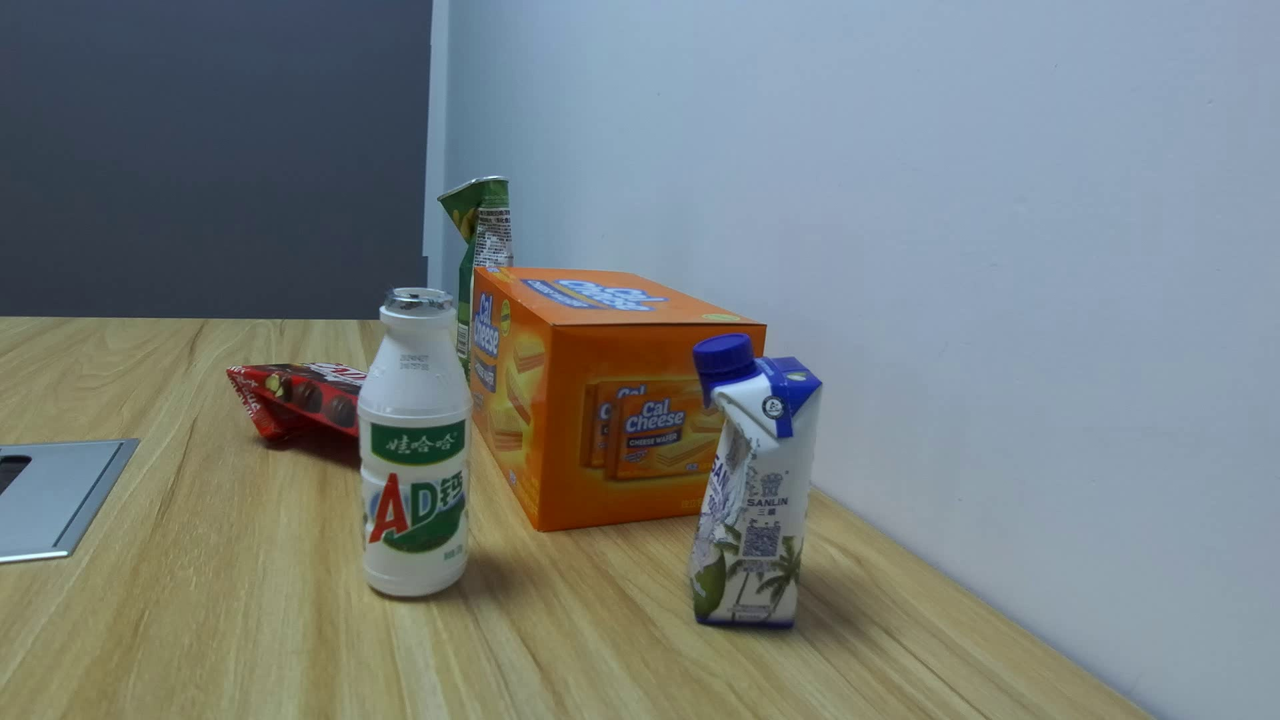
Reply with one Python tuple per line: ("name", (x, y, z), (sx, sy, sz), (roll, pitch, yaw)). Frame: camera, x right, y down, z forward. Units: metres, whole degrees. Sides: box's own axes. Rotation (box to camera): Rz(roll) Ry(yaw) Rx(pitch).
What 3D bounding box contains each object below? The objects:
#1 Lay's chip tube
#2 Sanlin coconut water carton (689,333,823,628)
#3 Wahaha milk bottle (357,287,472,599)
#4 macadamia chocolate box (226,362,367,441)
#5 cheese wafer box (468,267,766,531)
("Lay's chip tube", (-0.147, -0.067, 0.660), (0.071, 0.199, 0.079), (-3, 12, -8))
("Sanlin coconut water carton", (0.054, 0.058, 0.353), (0.058, 0.142, 0.078), (-1, 15, -2))
("Wahaha milk bottle", (-0.110, 0.045, 0.345), (0.053, 0.136, 0.053), (5, 15, -1))
("macadamia chocolate box", (-0.213, 0.029, 0.523), (0.126, 0.056, 0.112), (9, 15, 20))
("cheese wafer box", (-0.028, 0.014, 0.527), (0.149, 0.129, 0.221), (-2, 16, -22))
